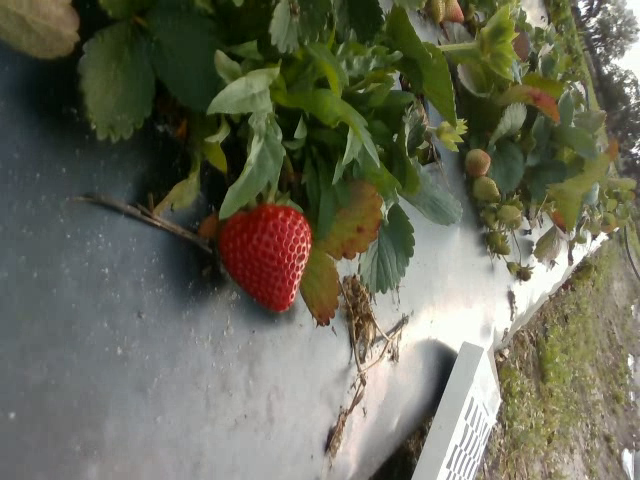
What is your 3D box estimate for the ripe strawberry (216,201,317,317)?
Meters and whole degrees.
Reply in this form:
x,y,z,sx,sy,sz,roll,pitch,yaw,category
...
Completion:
x,y,z,sx,sy,sz,roll,pitch,yaw,category
-0.024,0.008,0.252,0.042,0.051,0.043,-14,-14,23,ripe strawberry
